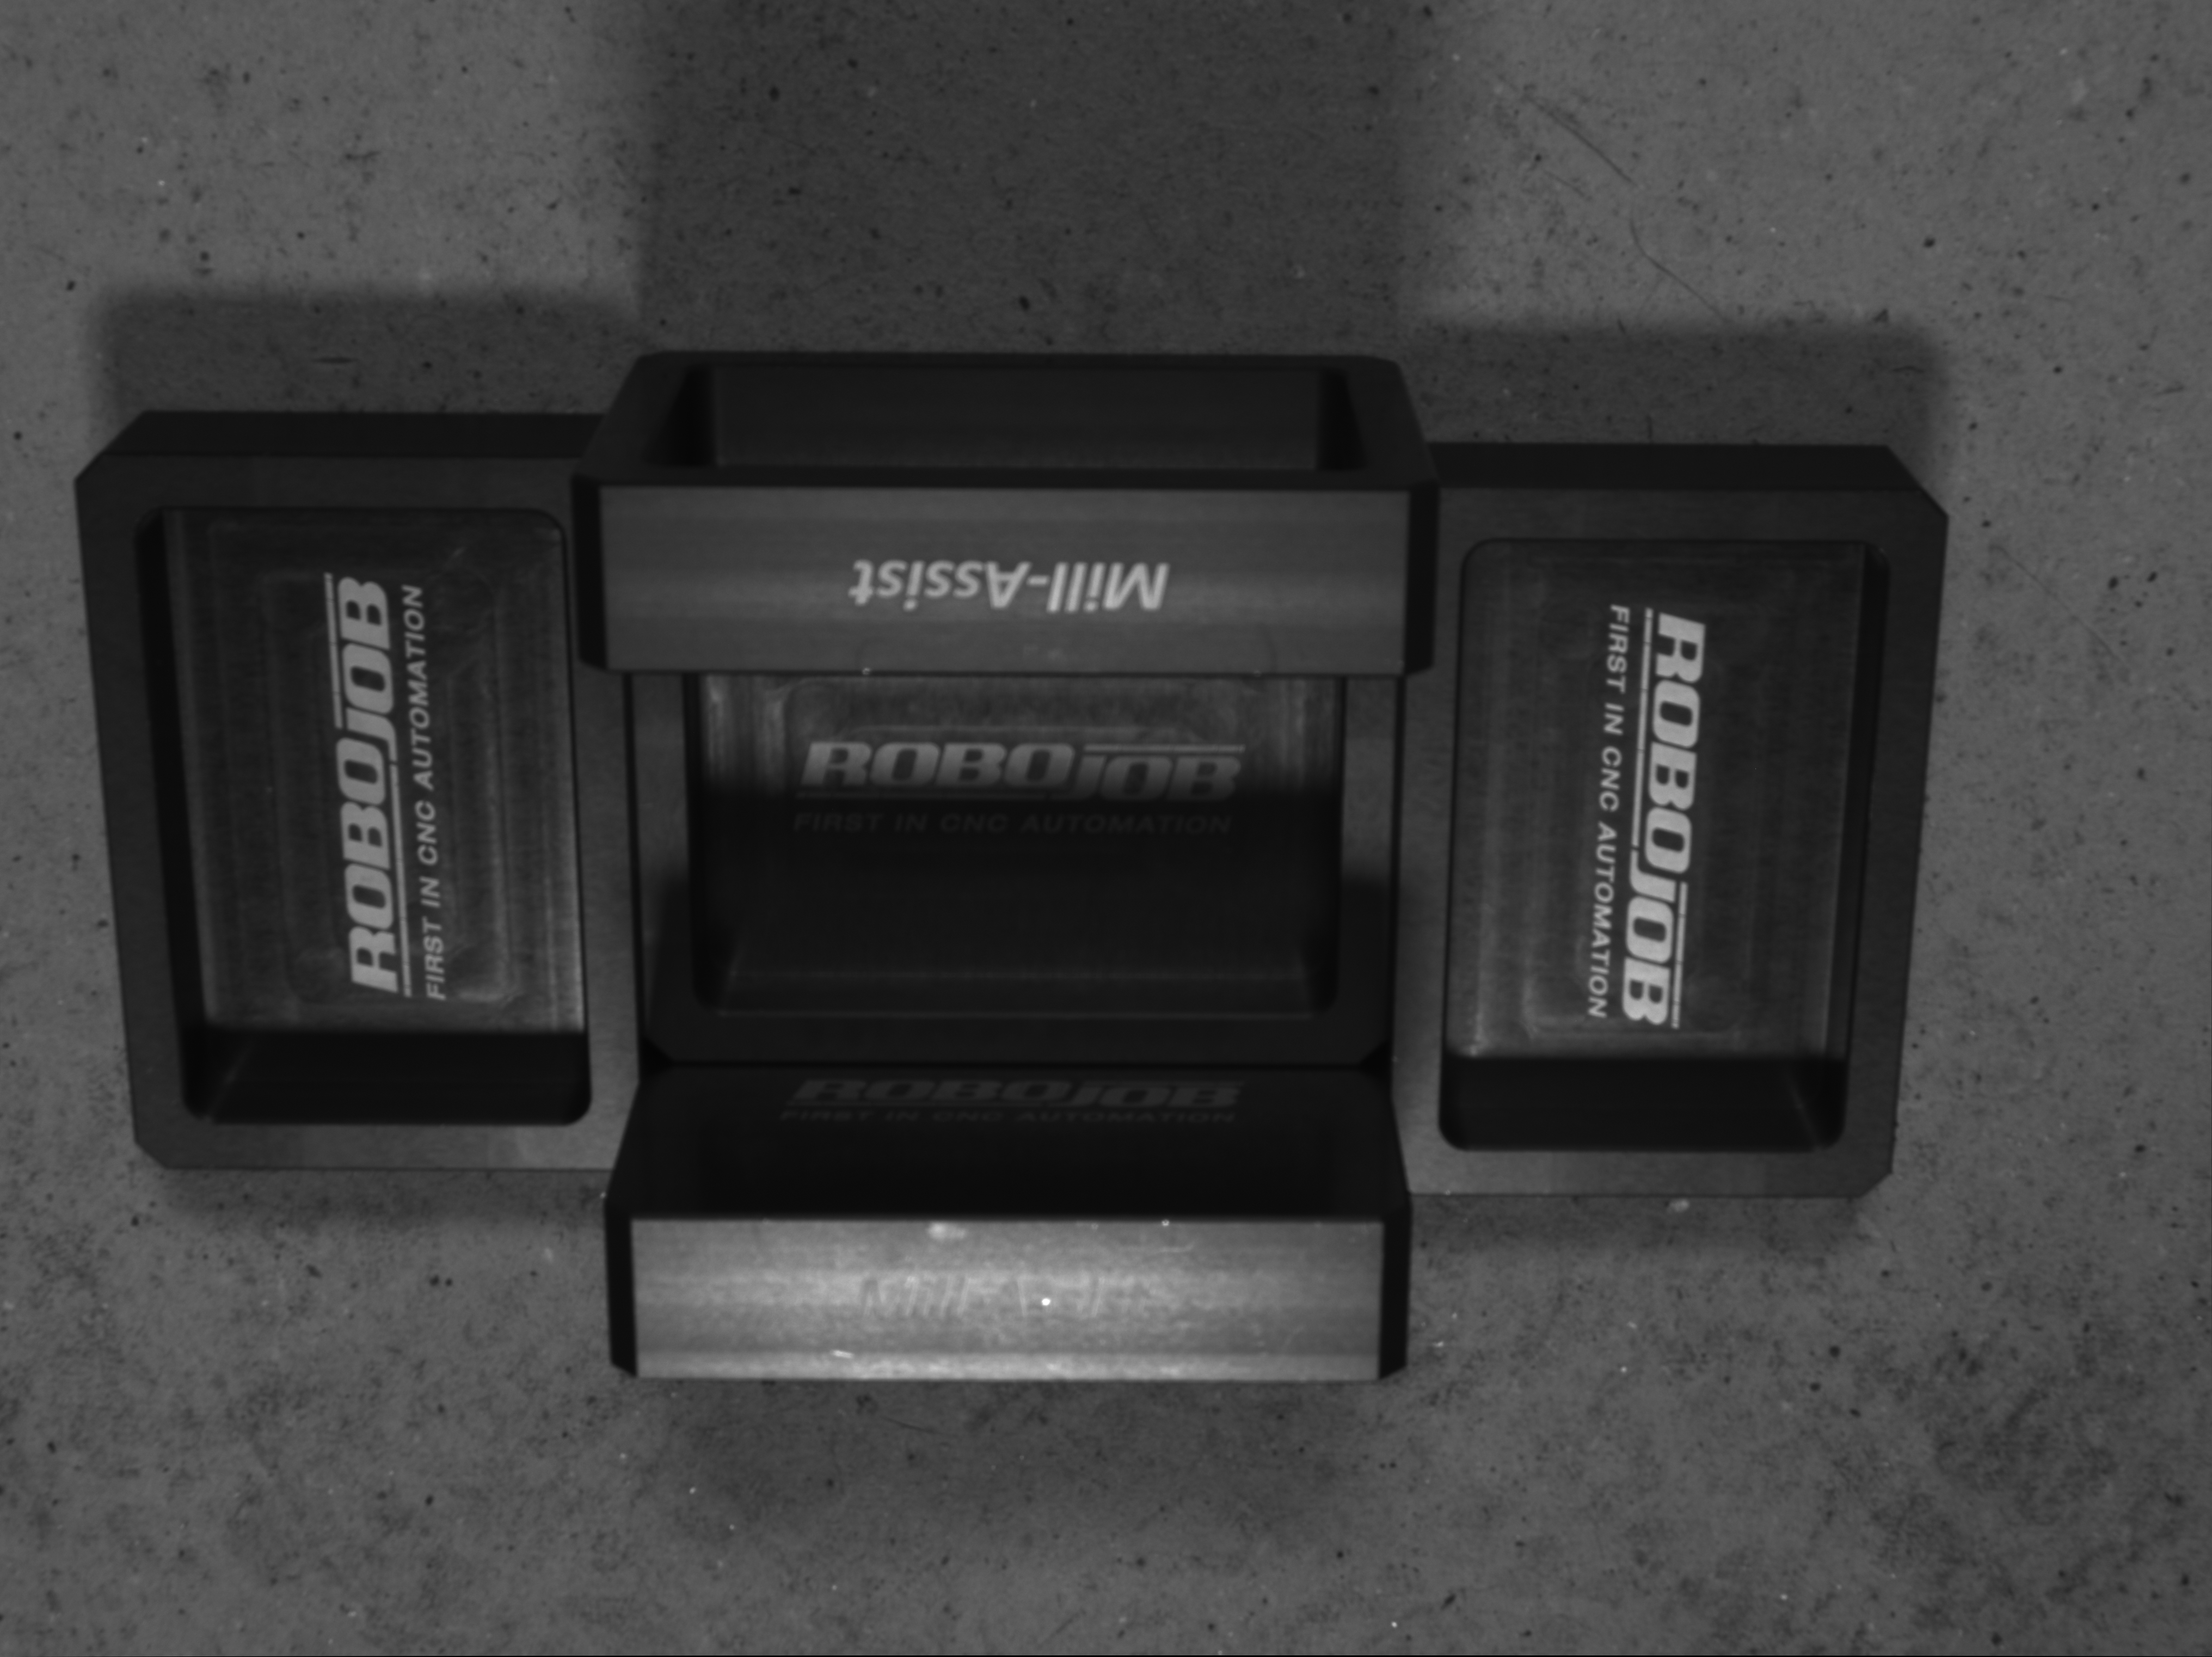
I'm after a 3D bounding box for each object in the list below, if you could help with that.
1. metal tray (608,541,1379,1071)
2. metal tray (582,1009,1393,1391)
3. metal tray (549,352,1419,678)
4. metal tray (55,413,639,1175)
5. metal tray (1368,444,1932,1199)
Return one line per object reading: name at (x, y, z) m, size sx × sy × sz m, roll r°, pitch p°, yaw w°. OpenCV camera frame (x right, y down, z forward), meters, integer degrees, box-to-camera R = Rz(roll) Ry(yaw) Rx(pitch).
metal tray at (-0.019, -0.005, 0.638) m, size 0.130 × 0.030 × 0.090 m, roll 1°, pitch 110°, yaw -1°
metal tray at (-0.019, 0.062, 0.629) m, size 0.130 × 0.090 × 0.030 m, roll 0°, pitch 110°, yaw -1°
metal tray at (-0.018, -0.052, 0.590) m, size 0.130 × 0.090 × 0.030 m, roll 0°, pitch 110°, yaw -1°
metal tray at (-0.129, -0.005, 0.637) m, size 0.090 × 0.030 × 0.130 m, roll 0°, pitch 110°, yaw -1°
metal tray at (0.091, 0.000, 0.641) m, size 0.090 × 0.030 × 0.130 m, roll 0°, pitch 110°, yaw -1°
